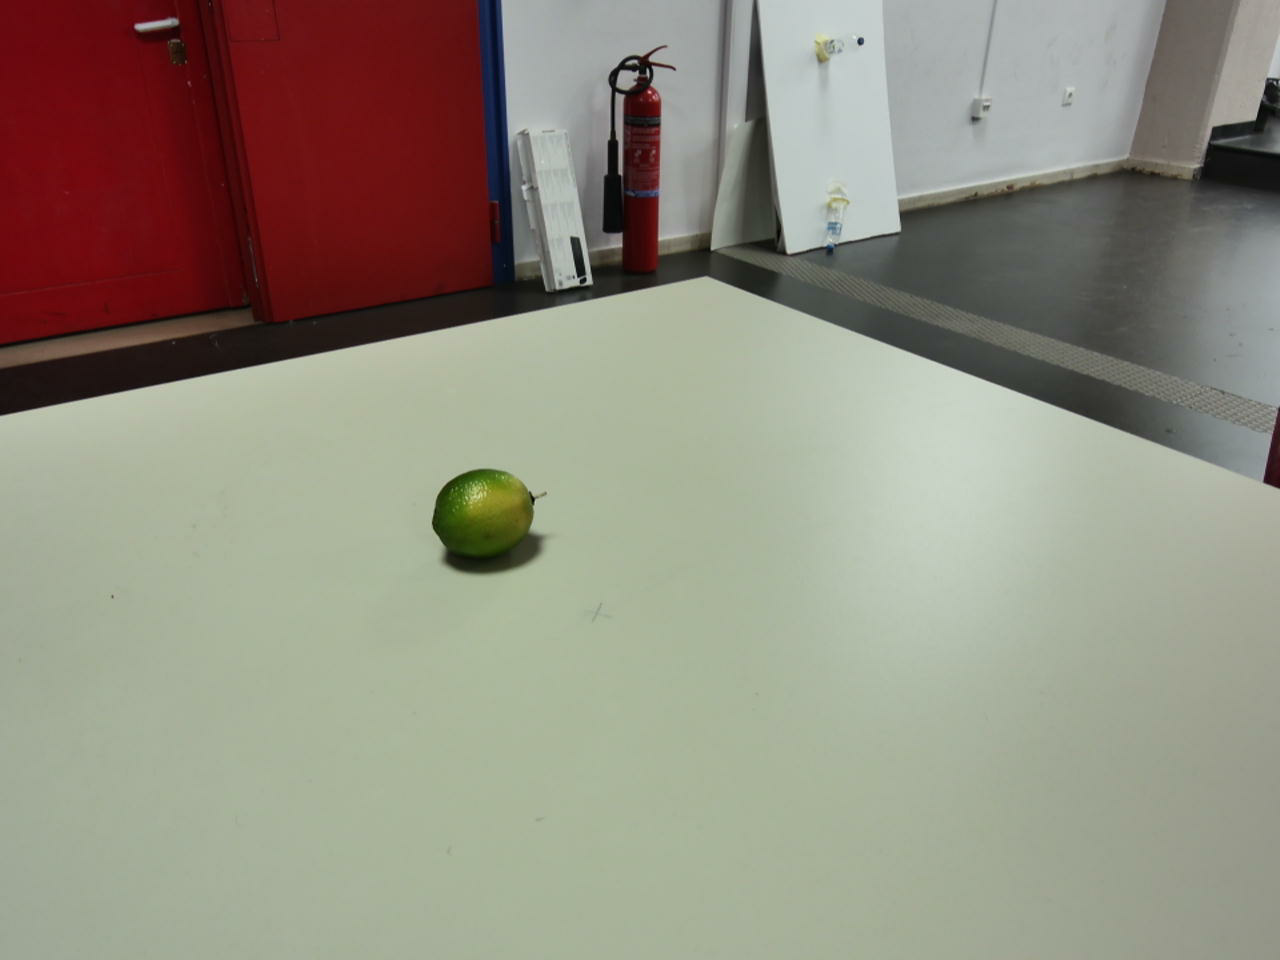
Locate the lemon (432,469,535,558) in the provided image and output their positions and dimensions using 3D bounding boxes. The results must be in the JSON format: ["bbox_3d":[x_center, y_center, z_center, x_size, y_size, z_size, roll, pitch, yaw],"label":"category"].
[{"bbox_3d":[-0.090,0.019,0.574,0.055,0.050,0.054,7,26,12],"label":"lemon"}]
